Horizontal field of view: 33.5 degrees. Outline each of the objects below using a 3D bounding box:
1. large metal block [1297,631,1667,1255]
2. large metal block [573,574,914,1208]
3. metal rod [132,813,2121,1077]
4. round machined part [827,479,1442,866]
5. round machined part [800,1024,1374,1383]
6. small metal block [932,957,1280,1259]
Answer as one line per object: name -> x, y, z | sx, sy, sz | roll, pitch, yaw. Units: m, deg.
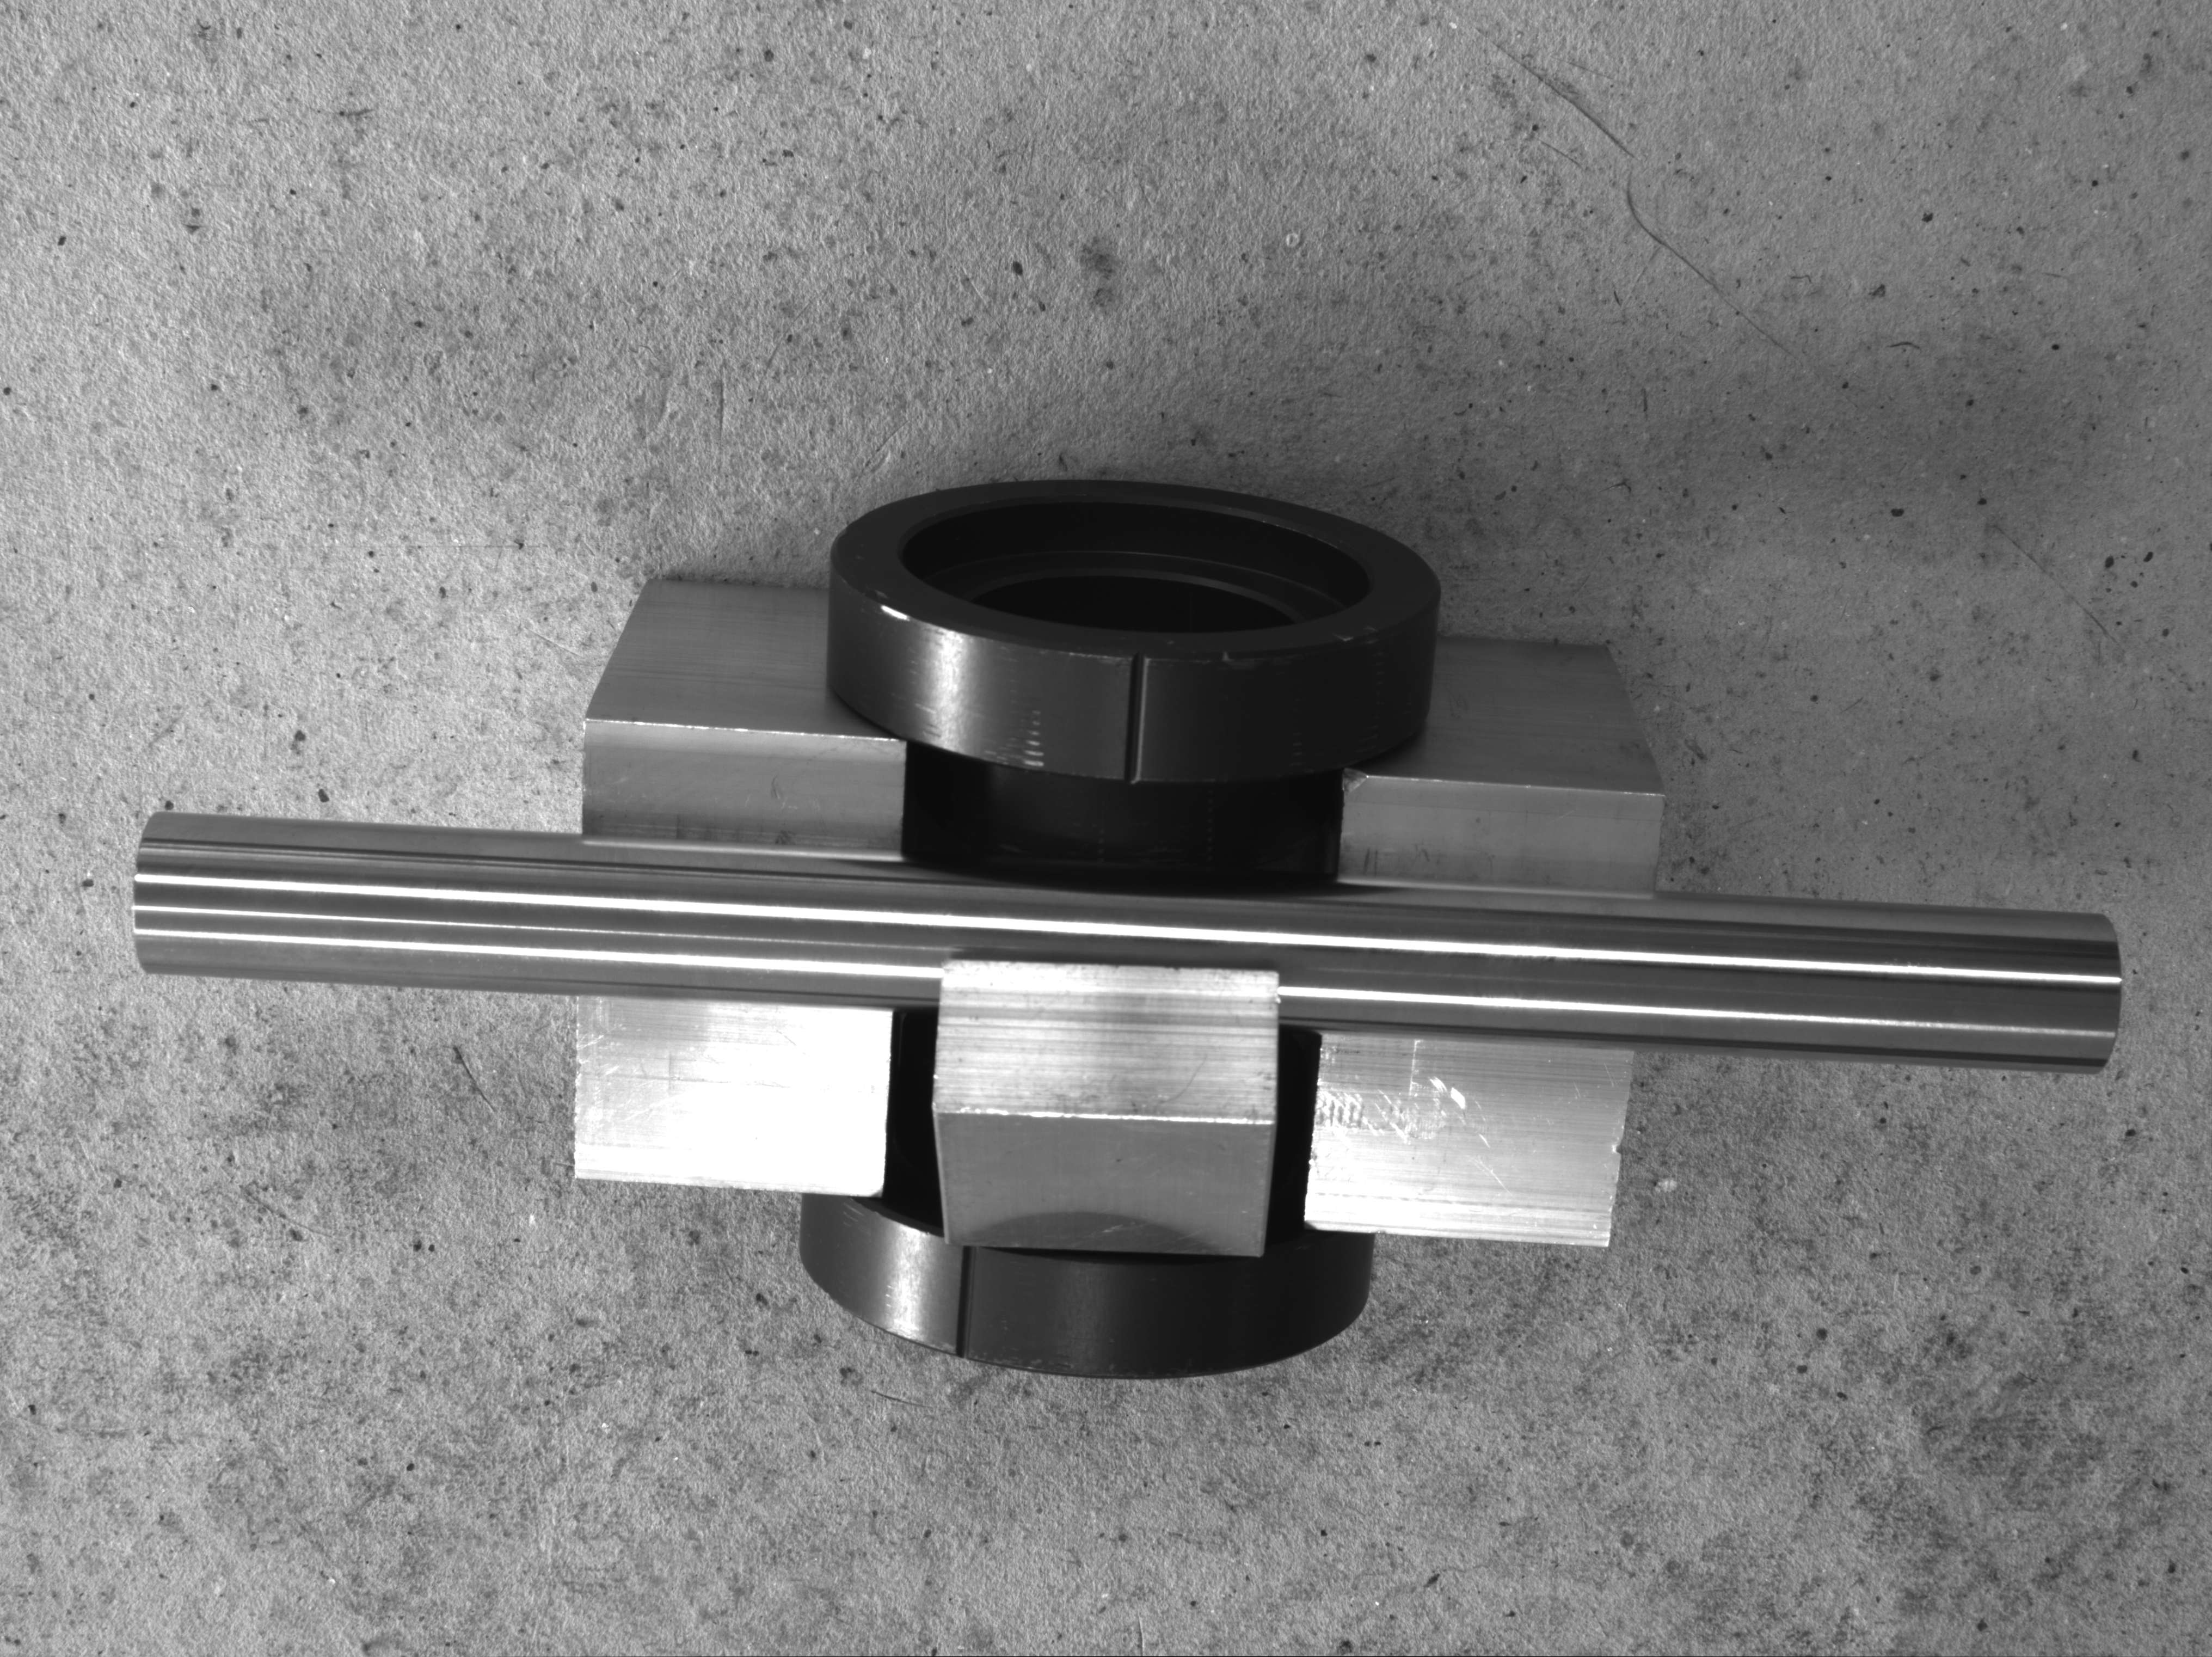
large metal block -> 0.060, 0.017, 0.621 | 0.050, 0.080, 0.080 | 3, 110, -1
large metal block -> -0.058, 0.009, 0.618 | 0.050, 0.080, 0.080 | 4, 110, -1
metal rod -> 0.004, 0.018, 0.566 | 0.300, 0.025, 0.025 | 3, 110, -1
round machined part -> 0.004, -0.023, 0.597 | 0.098, 0.098, 0.042 | 4, 111, -1
round machined part -> -0.002, 0.055, 0.625 | 0.098, 0.098, 0.042 | 4, 105, -1
small metal block -> 0.000, 0.043, 0.561 | 0.050, 0.025, 0.050 | 2, 150, 1
